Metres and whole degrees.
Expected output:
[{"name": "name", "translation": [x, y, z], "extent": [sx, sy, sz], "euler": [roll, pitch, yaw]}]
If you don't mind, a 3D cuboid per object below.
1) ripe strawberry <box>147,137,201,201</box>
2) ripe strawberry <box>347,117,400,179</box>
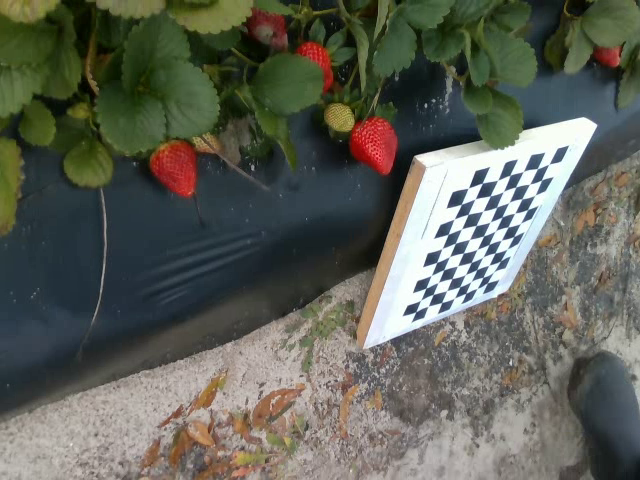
[{"name": "ripe strawberry", "translation": [-0.113, -0.057, 0.487], "extent": [0.043, 0.052, 0.041], "euler": [-25, 7, -13]}, {"name": "ripe strawberry", "translation": [0.055, -0.086, 0.590], "extent": [0.057, 0.065, 0.056], "euler": [-27, -32, 11]}]
